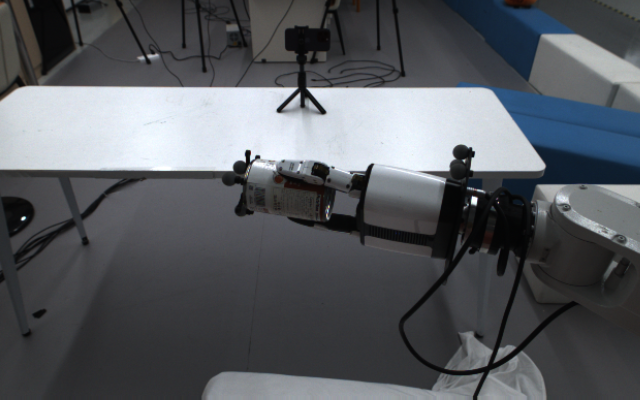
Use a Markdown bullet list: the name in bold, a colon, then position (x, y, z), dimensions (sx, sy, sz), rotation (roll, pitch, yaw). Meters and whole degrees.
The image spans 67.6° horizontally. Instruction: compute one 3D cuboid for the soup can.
- **soup can**: position (-0.033, -0.012, 0.596), dimensions (0.101, 0.067, 0.067), rotation (8, 35, 10)
